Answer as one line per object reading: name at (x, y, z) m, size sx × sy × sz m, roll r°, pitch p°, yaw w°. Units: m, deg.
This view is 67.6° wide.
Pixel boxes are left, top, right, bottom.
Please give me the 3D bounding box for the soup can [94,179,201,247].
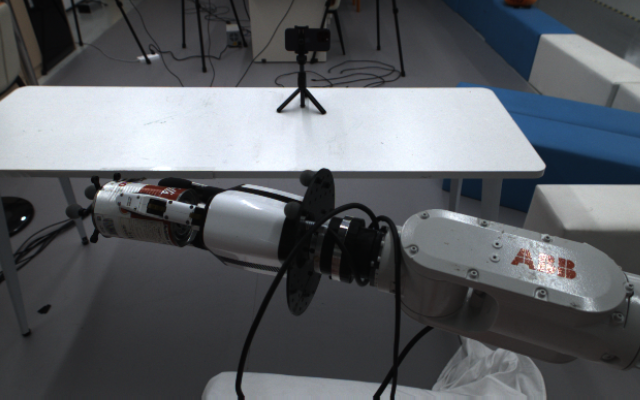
soup can at (-0.197, 0.017, 0.562) m, size 0.101 × 0.067 × 0.067 m, roll 7°, pitch 35°, yaw 11°
